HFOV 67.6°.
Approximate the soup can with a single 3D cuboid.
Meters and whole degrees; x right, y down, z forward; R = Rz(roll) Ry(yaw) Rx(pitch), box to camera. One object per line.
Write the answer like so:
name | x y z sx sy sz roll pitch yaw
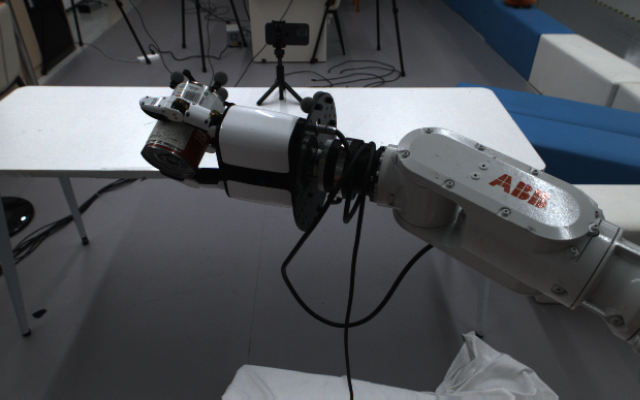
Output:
soup can | -0.166 -0.086 0.598 0.067 0.067 0.101 12 66 15
